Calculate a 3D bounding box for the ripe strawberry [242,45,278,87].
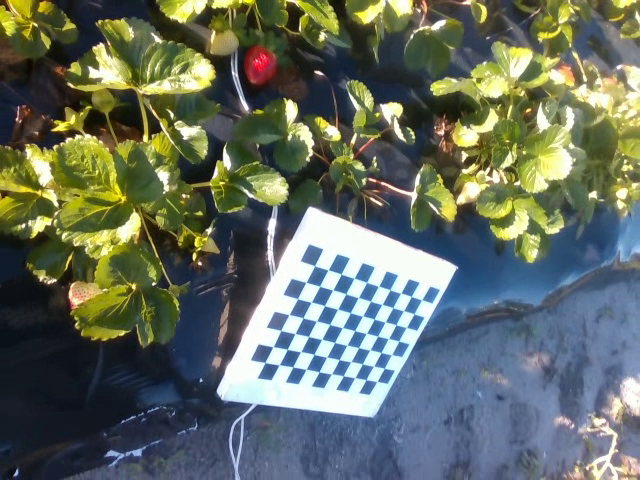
[{"bbox_3d":[-0.080,-0.250,0.836,0.040,0.080,0.063,-9,-45,27],"label":"ripe strawberry"}]
